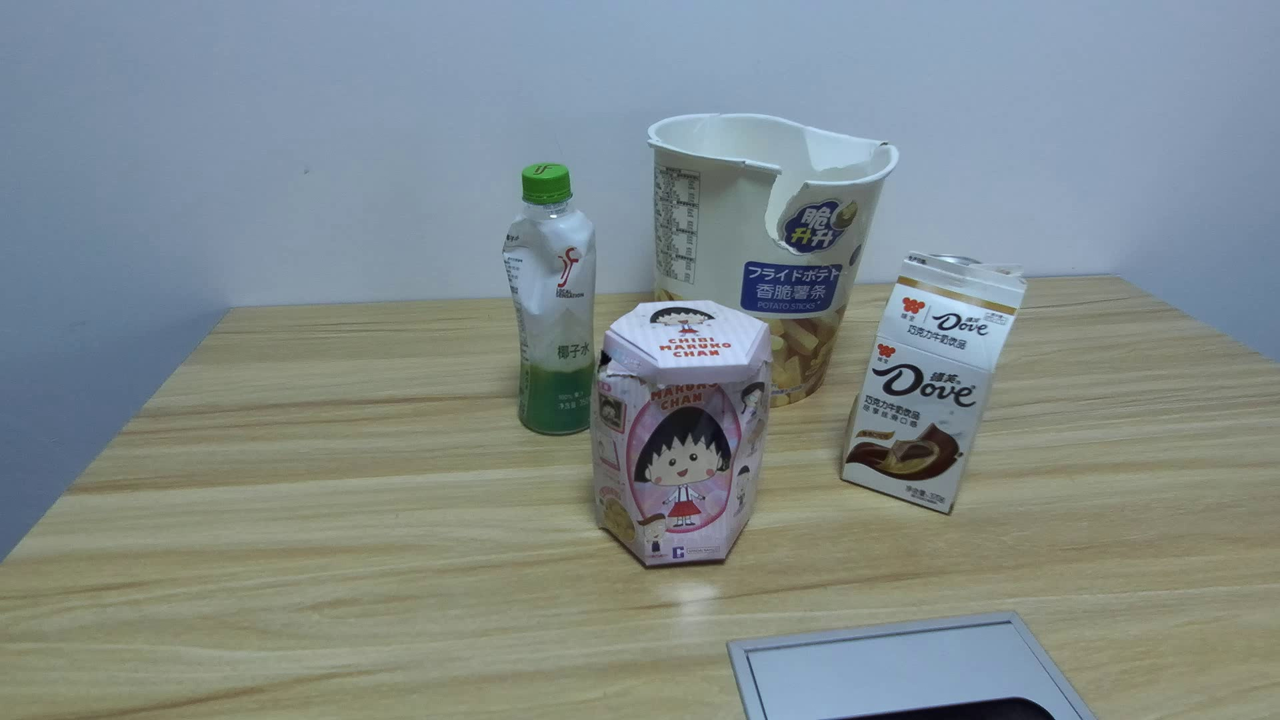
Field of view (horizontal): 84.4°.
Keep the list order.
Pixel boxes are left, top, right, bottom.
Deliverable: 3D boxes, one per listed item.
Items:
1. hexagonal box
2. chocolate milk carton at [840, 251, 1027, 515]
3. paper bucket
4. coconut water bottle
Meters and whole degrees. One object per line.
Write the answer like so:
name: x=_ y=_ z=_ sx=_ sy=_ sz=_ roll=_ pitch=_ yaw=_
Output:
hexagonal box: x=0.022 y=0.041 z=0.411 sx=0.091 sy=0.134 sz=0.090 roll=18 pitch=31 yaw=28
chocolate milk carton: x=0.184 y=0.008 z=0.453 sx=0.084 sy=0.155 sz=0.073 roll=16 pitch=33 yaw=25
paper bucket: x=0.090 y=-0.080 z=0.562 sx=0.201 sy=0.197 sz=0.146 roll=25 pitch=39 yaw=37
coconut water bottle: x=-0.059 y=-0.041 z=0.500 sx=0.069 sy=0.187 sz=0.069 roll=2 pitch=29 yaw=-1
